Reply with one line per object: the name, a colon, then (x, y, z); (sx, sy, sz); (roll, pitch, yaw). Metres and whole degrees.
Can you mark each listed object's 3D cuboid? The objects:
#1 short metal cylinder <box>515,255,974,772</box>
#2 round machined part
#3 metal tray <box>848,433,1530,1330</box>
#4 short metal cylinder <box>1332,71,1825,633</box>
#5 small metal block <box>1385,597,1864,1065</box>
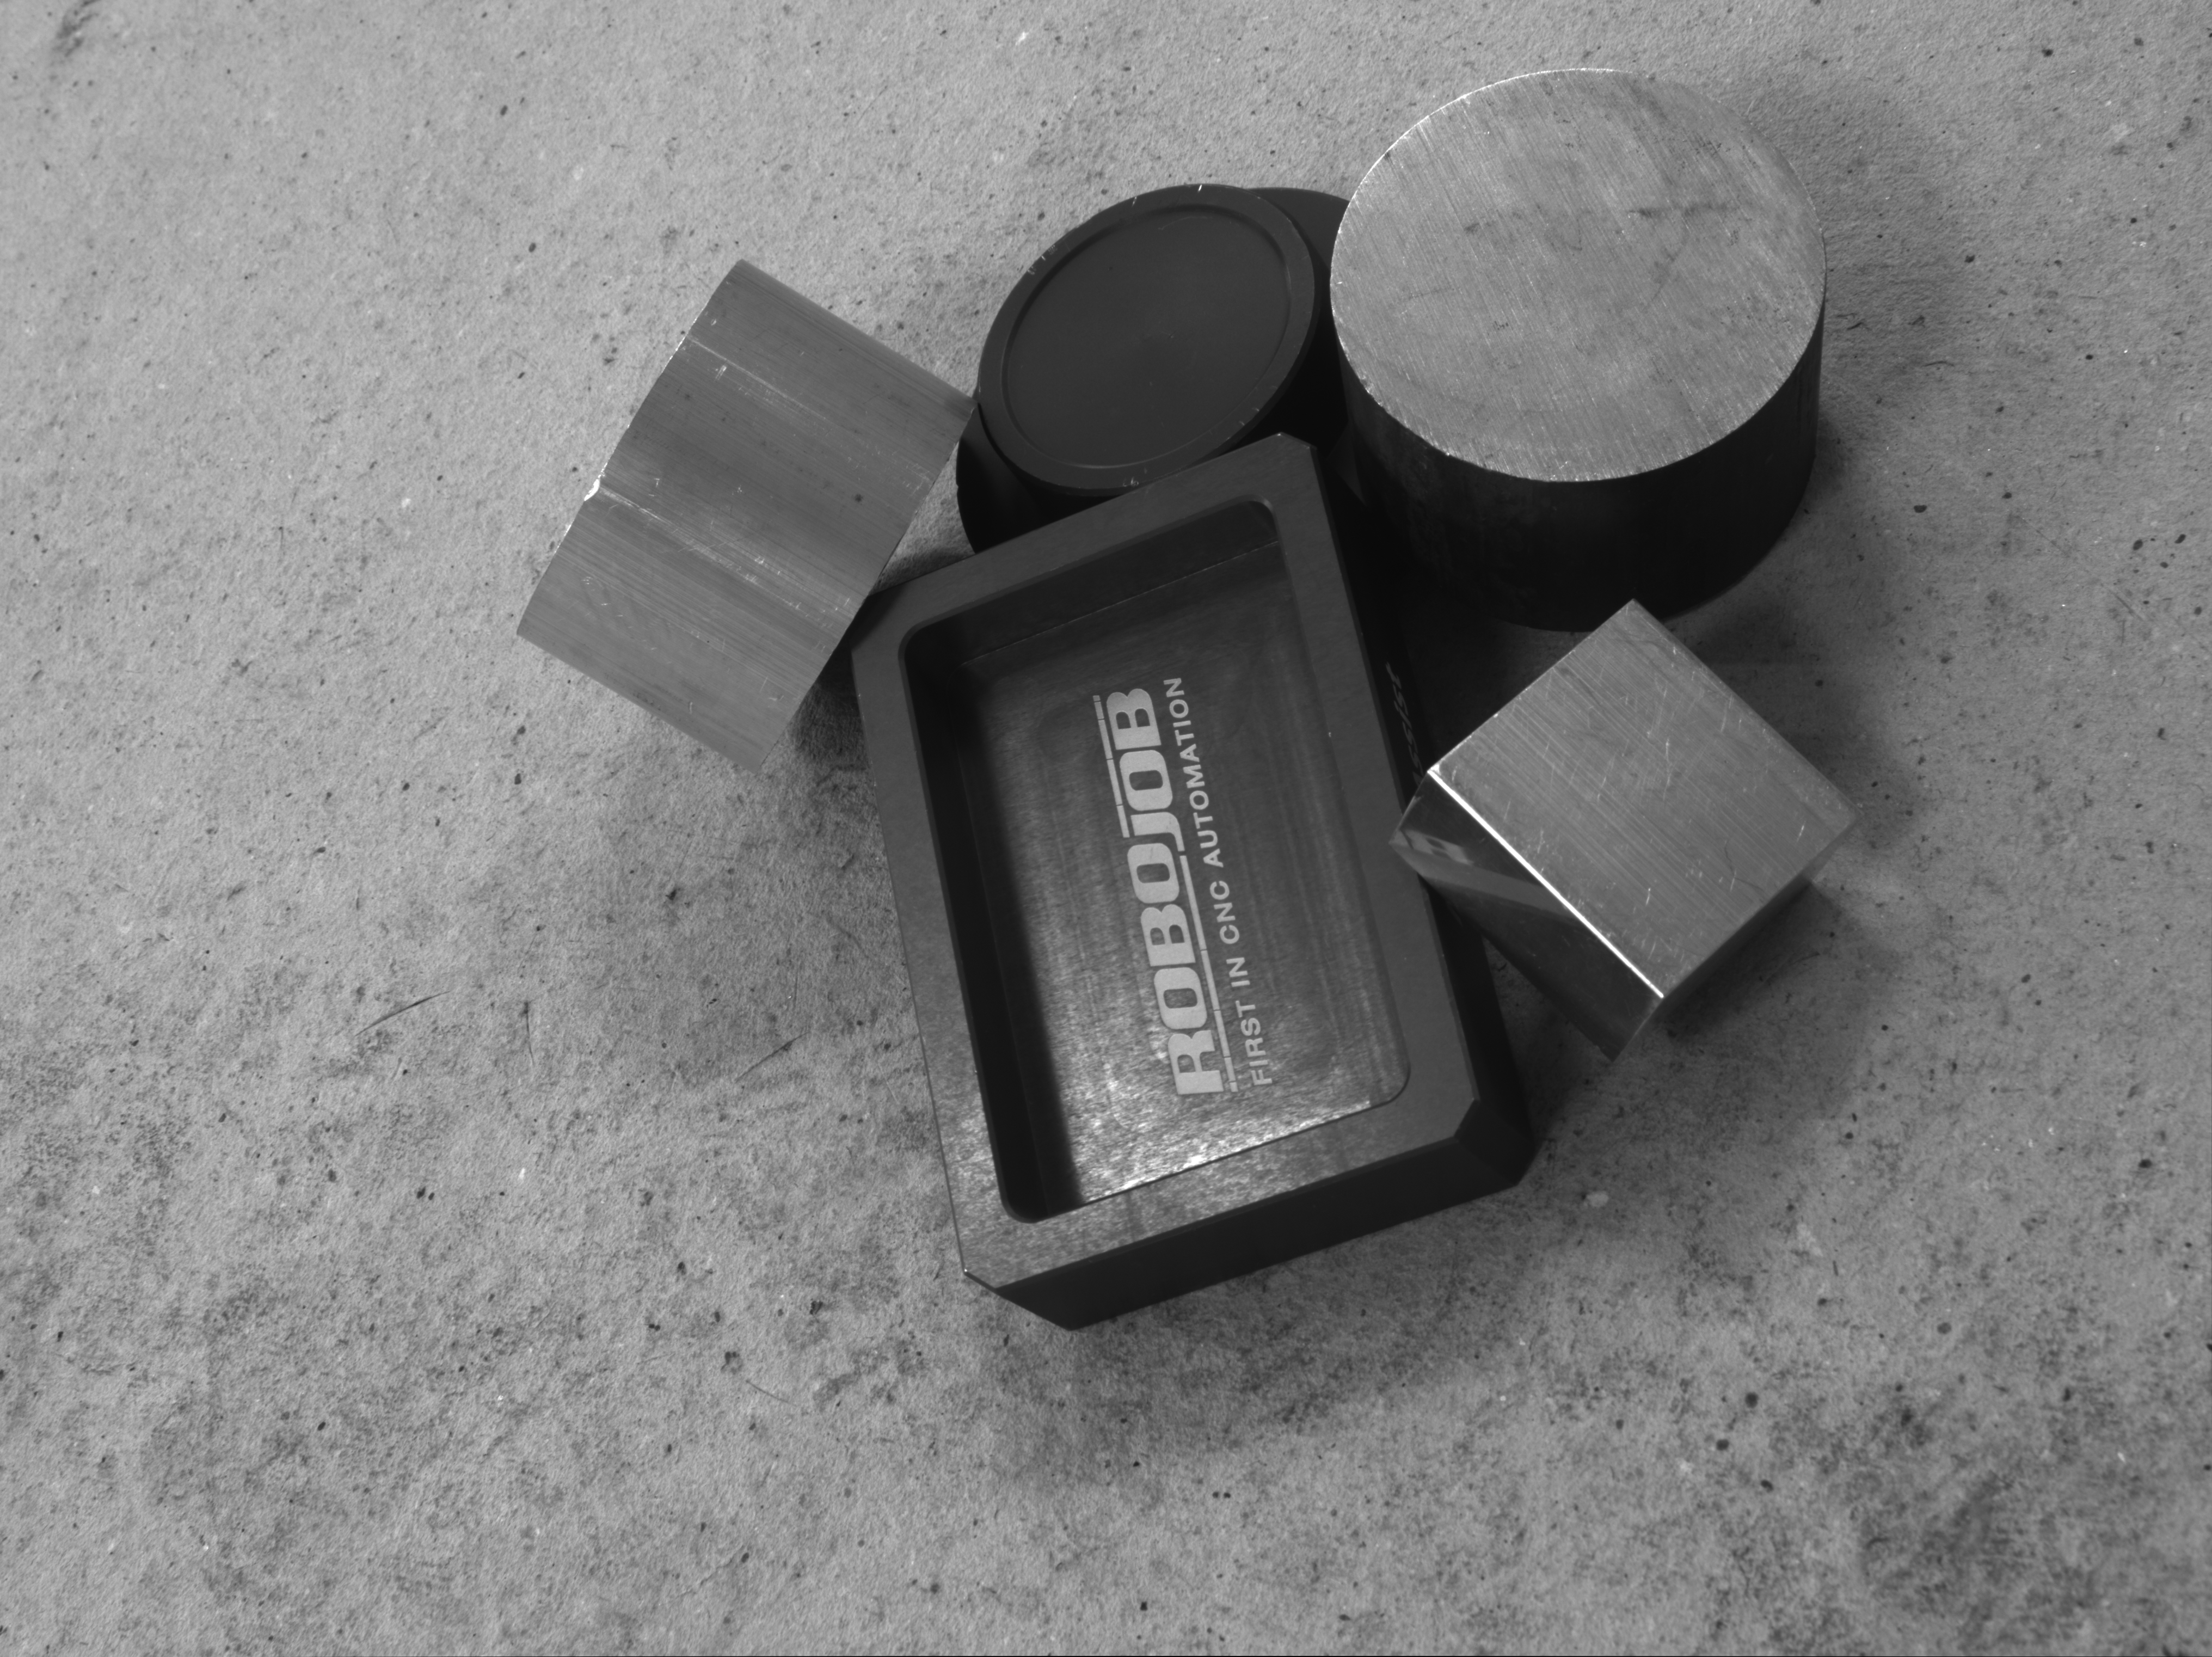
short metal cylinder: (-0.066, -0.057, 0.673); (0.050, 0.080, 0.080); (31, 74, -7)
round machined part: (0.016, -0.079, 0.676); (0.098, 0.042, 0.098); (-14, 56, 21)
metal tray: (0.011, 0.008, 0.617); (0.090, 0.030, 0.130); (-20, 63, 17)
short metal cylinder: (0.080, -0.080, 0.622); (0.080, 0.050, 0.080); (-3, 64, 7)
small metal block: (0.081, 0.000, 0.579); (0.050, 0.025, 0.050); (-38, 75, -27)
